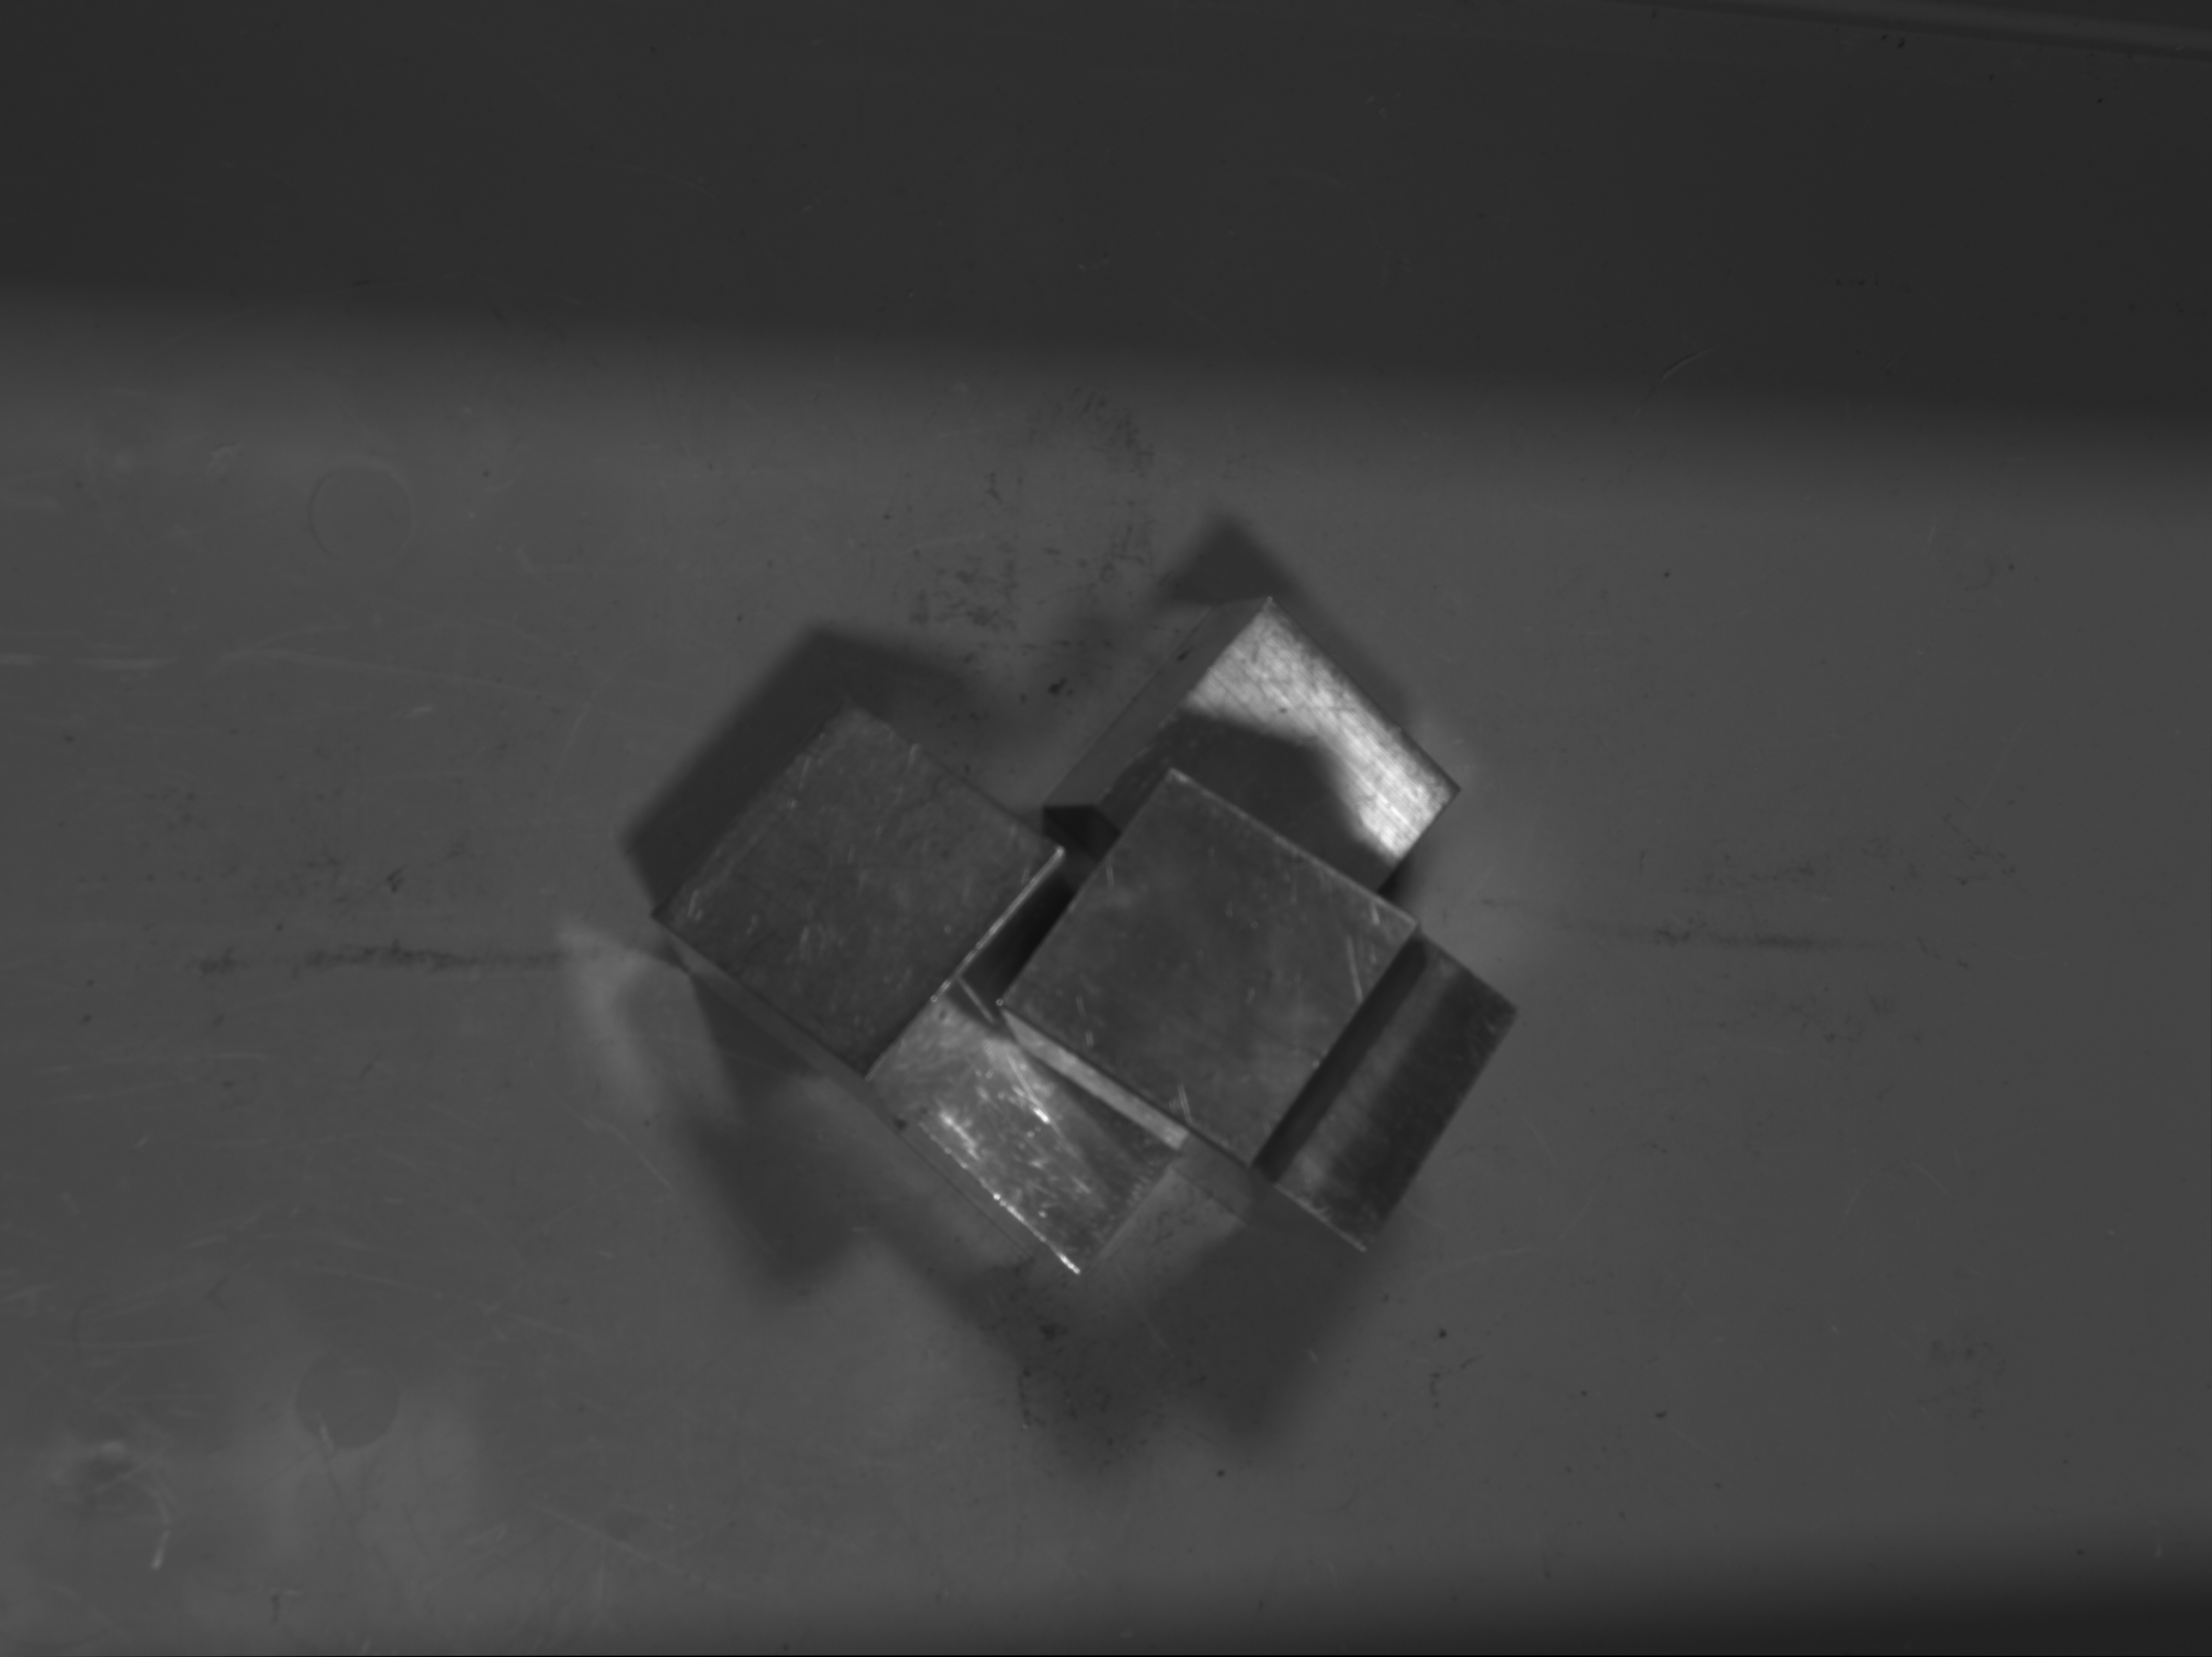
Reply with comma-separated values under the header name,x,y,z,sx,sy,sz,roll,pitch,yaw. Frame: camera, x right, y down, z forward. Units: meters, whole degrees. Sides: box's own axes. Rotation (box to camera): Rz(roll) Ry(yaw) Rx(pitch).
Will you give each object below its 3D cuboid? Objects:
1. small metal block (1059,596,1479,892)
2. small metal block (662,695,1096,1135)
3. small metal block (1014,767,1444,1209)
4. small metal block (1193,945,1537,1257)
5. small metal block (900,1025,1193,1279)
name,x,y,z,sx,sy,sz,roll,pitch,yaw
small metal block,0.029,-0.005,0.652,0.050,0.025,0.050,44,76,-15
small metal block,-0.037,0.014,0.616,0.050,0.025,0.050,35,76,23
small metal block,0.021,0.027,0.610,0.050,0.025,0.050,32,77,17
small metal block,0.042,0.045,0.644,0.025,0.050,0.050,37,78,-16
small metal block,-0.007,0.042,0.639,0.050,0.025,0.050,44,76,-15
